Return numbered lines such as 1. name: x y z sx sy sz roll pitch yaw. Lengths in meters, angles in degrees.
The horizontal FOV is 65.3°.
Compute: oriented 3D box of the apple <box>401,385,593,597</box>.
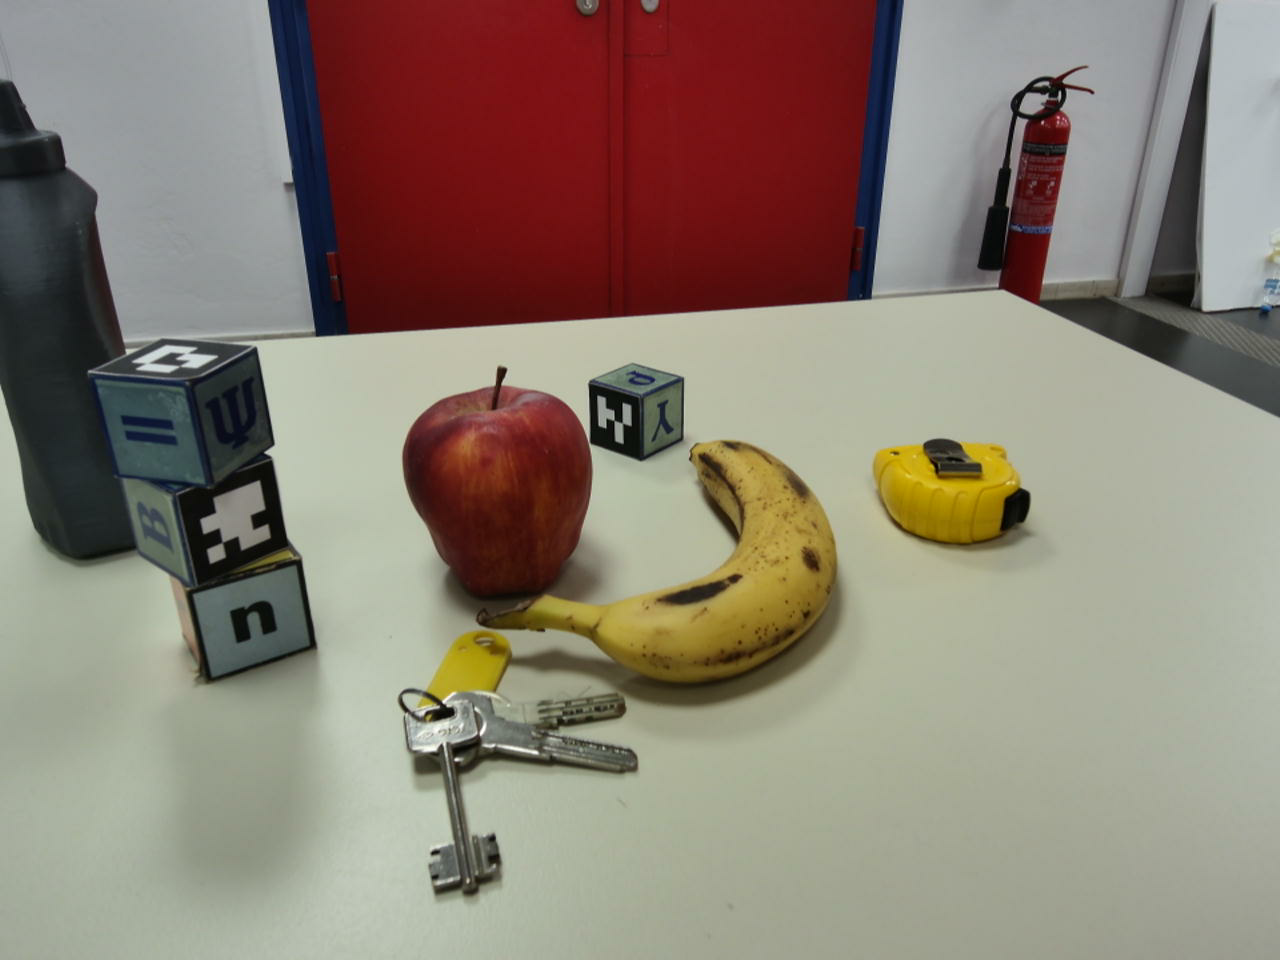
1. apple: -0.059 -0.002 0.413 0.083 0.090 0.083 1 24 -1
